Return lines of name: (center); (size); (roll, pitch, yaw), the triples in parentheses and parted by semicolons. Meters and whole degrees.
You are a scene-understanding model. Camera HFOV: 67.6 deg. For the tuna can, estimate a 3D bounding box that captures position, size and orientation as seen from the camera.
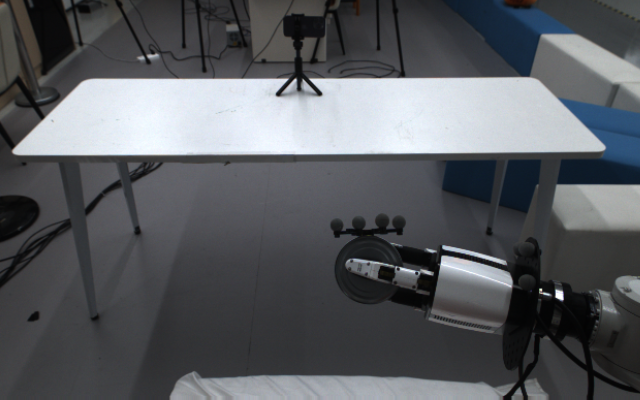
tuna can: (0.064, 0.087, 0.612); (0.085, 0.034, 0.085); (-2, 79, 10)
